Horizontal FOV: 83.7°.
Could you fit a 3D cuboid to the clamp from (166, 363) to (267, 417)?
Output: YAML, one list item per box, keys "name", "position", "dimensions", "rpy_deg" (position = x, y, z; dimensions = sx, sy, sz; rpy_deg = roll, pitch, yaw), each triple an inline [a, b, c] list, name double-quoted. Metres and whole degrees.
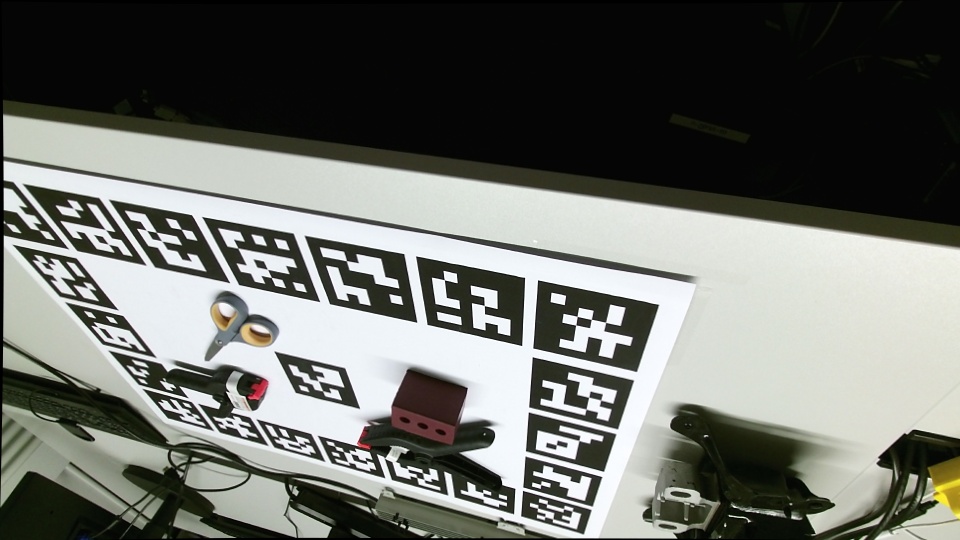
- name: "clamp"
  position: [-0.381, 0.178, 0.796]
  dimensions: [0.165, 0.036, 0.122]
  rpy_deg: [-13, 119, 30]

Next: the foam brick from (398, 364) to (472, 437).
- name: "foam brick"
  position: [-0.054, 0.153, 0.631]
  dimensions: [0.078, 0.051, 0.053]
  rpy_deg: [13, 134, 3]

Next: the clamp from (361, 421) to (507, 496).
- name: "clamp"
  position: [-0.067, 0.245, 0.732]
  dimensions: [0.203, 0.036, 0.165]
  rpy_deg: [8, 137, 15]

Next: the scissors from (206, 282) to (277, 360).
- name: "scissors"
  position: [-0.322, 0.082, 0.685]
  dimensions: [0.088, 0.016, 0.203]
  rpy_deg: [44, 134, -11]
